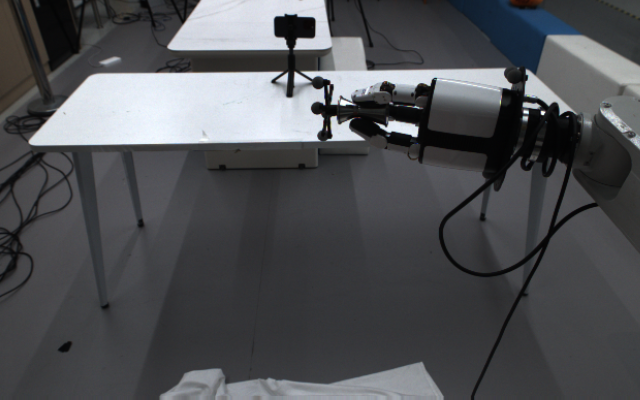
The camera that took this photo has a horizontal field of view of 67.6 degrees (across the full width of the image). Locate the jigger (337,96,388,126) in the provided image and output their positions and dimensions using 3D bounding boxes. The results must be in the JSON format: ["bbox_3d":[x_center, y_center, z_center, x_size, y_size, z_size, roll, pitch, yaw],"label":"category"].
[{"bbox_3d":[0.068,-0.129,0.678,0.071,0.043,0.043,3,34,12],"label":"jigger"}]
